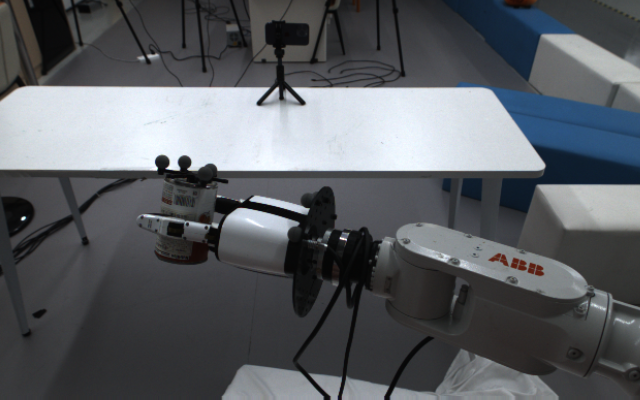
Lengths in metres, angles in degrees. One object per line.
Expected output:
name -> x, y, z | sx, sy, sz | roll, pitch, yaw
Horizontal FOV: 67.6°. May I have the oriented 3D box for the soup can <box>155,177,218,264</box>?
soup can -> -0.169, 0.025, 0.616 | 0.067, 0.101, 0.067 | 10, 9, -2
